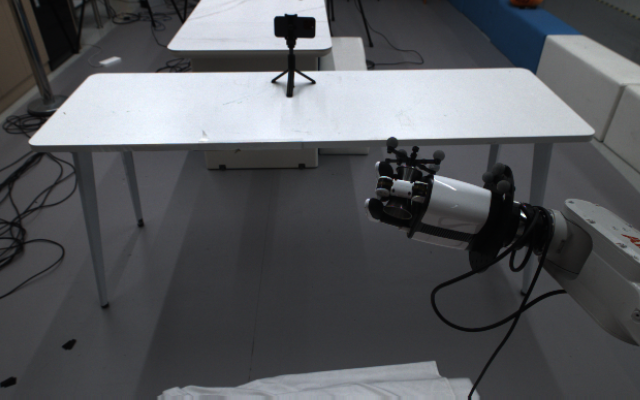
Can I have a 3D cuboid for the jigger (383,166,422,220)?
[{"bbox_3d":[0.123,-0.013,0.704,0.043,0.043,0.071,13,72,15],"label":"jigger"}]
